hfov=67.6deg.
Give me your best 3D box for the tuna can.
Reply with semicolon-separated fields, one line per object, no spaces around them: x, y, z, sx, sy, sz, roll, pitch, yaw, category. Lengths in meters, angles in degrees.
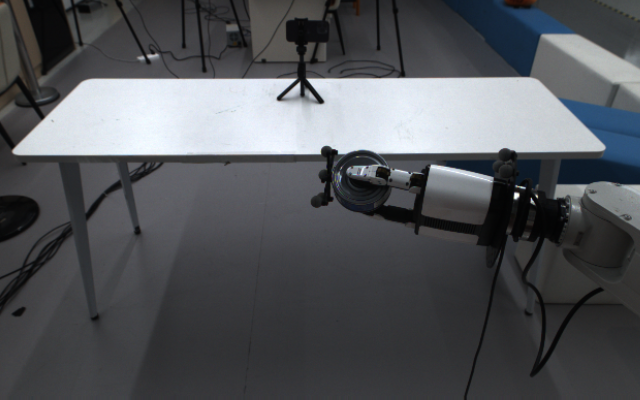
0.063;-0.024;0.686;0.085;0.034;0.085;-2;69;6;tuna can
